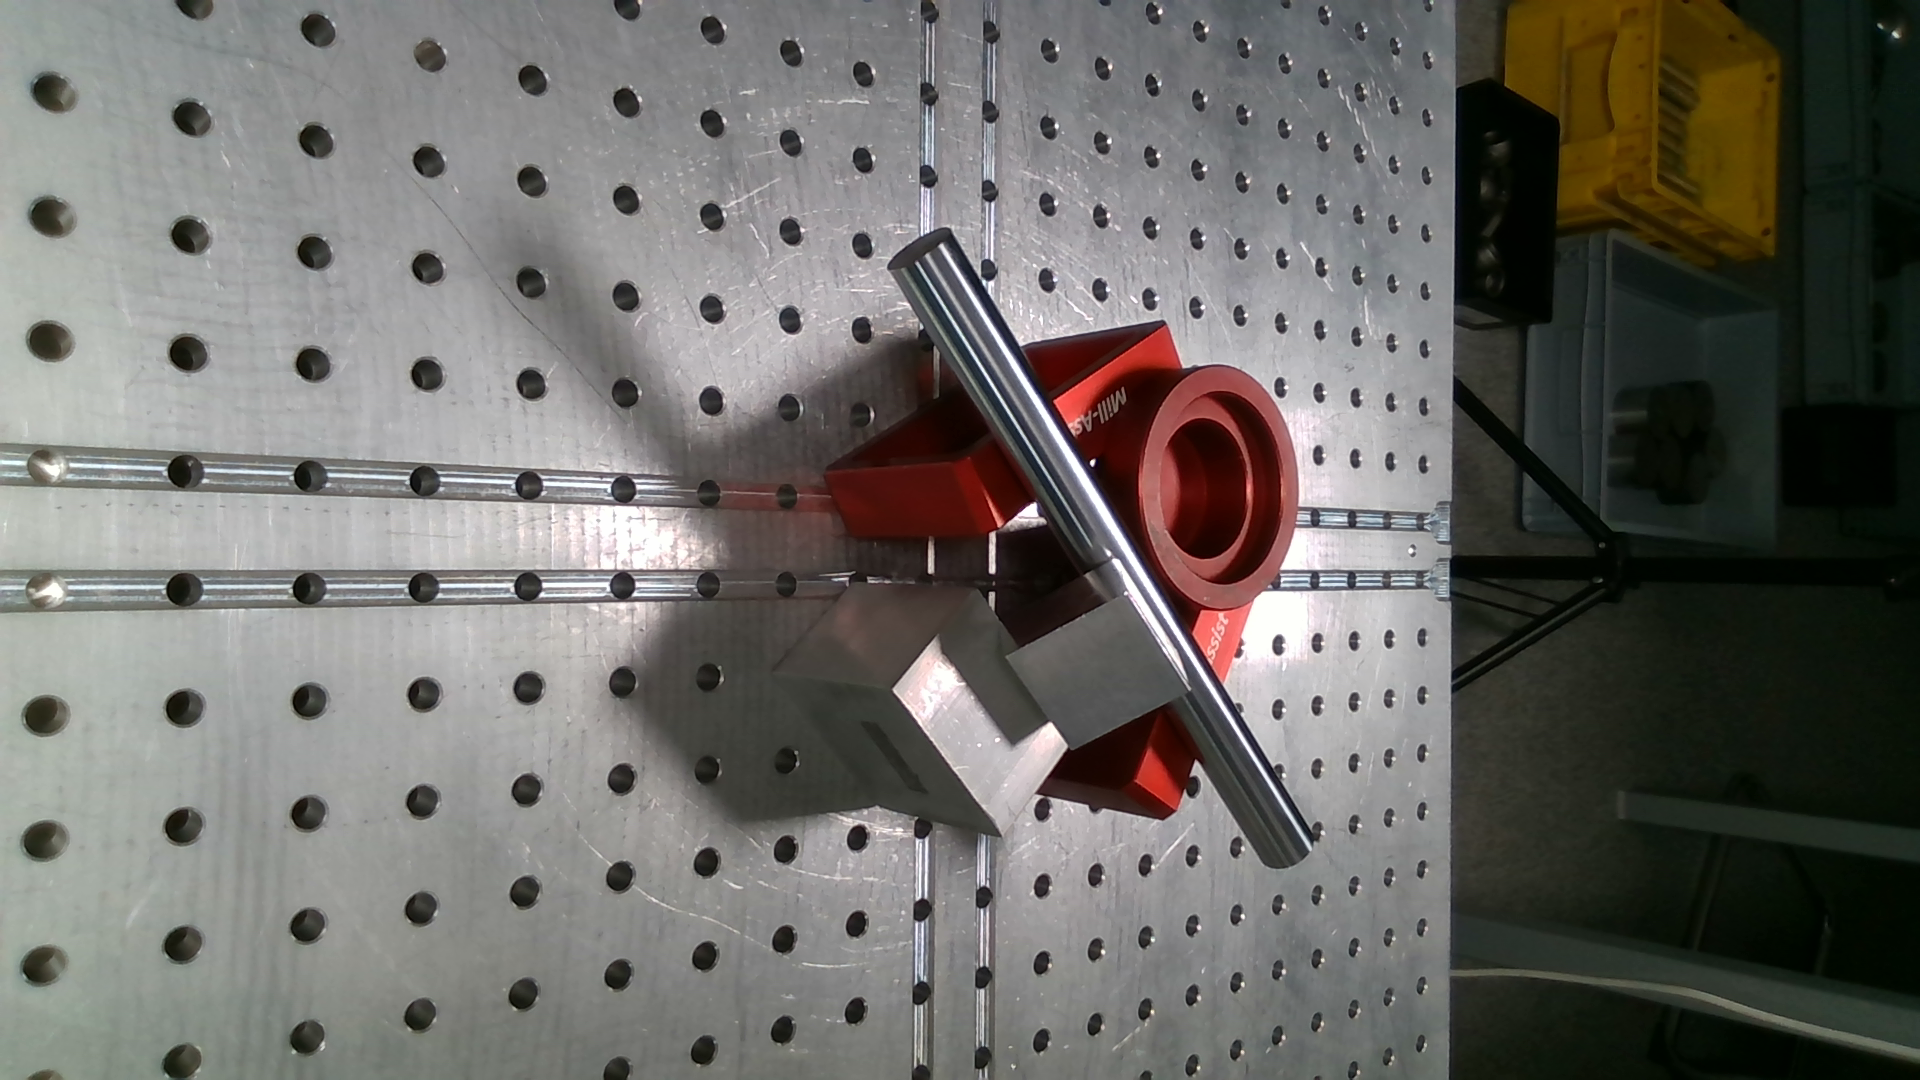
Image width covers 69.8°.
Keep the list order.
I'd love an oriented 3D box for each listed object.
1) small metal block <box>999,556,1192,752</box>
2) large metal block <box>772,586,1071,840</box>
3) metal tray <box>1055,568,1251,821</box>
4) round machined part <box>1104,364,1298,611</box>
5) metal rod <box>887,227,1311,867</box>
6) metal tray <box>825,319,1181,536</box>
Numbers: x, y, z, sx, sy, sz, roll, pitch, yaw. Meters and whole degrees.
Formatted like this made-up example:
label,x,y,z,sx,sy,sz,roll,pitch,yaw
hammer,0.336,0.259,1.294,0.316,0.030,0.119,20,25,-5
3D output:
label,x,y,z,sx,sy,sz,roll,pitch,yaw
small metal block,0.049,0.042,0.505,0.050,0.050,0.025,55,14,-26
large metal block,-0.013,0.065,0.535,0.050,0.080,0.080,-49,119,-29
metal tray,0.074,0.052,0.605,0.030,0.090,0.130,38,67,-33
round machined part,0.092,-0.021,0.562,0.098,0.042,0.098,0,90,-40
metal rod,0.062,0.016,0.520,0.025,0.025,0.301,-49,119,-29
metal tray,0.020,-0.046,0.560,0.130,0.090,0.030,-36,112,-34
